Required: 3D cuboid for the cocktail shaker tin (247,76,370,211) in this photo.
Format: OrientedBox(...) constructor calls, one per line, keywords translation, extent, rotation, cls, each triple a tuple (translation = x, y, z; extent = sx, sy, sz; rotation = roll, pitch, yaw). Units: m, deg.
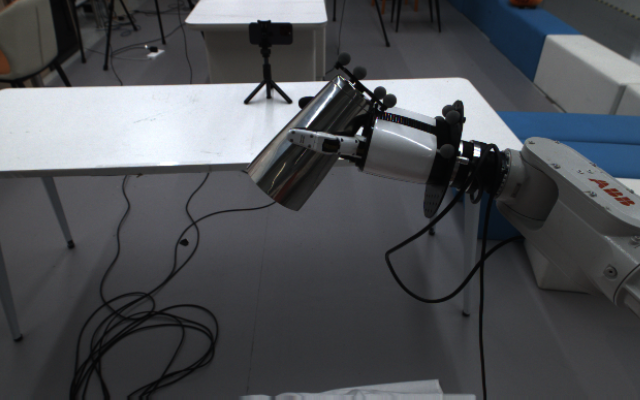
OrientedBox(translation=(-0.008, -0.083, 0.640), extent=(0.093, 0.170, 0.093), rotation=(41, 12, -11), cls="cocktail shaker tin")
